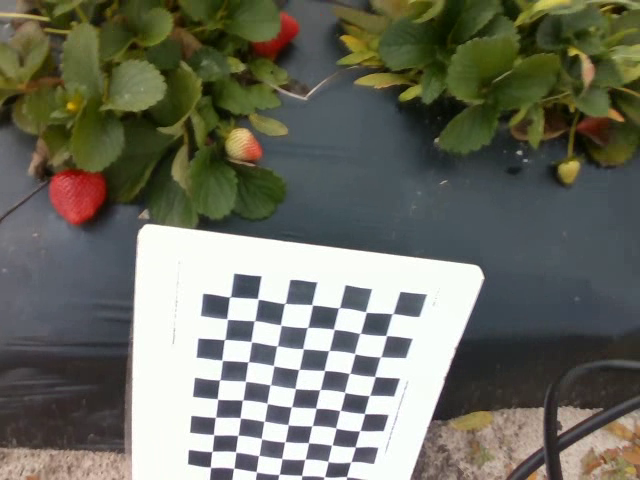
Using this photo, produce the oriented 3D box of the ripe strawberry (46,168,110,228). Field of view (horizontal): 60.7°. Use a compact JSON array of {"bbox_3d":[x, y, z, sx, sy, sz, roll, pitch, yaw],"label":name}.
[{"bbox_3d":[-0.160,-0.027,0.336,0.037,0.046,0.036,-29,-23,21],"label":"ripe strawberry"}]
